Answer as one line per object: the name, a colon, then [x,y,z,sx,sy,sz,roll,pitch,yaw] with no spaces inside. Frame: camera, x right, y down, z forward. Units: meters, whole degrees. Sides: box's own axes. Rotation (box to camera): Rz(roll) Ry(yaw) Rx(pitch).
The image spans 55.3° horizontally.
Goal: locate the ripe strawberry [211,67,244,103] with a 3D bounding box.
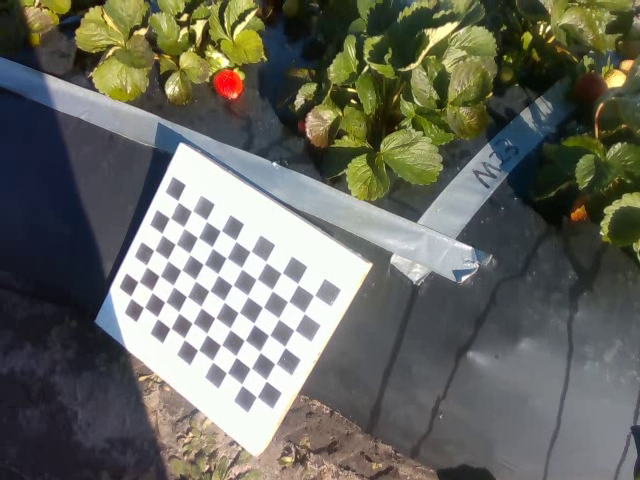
ripe strawberry: [-0.126,-0.212,0.842,0.045,0.059,0.042,-34,-30,18]
